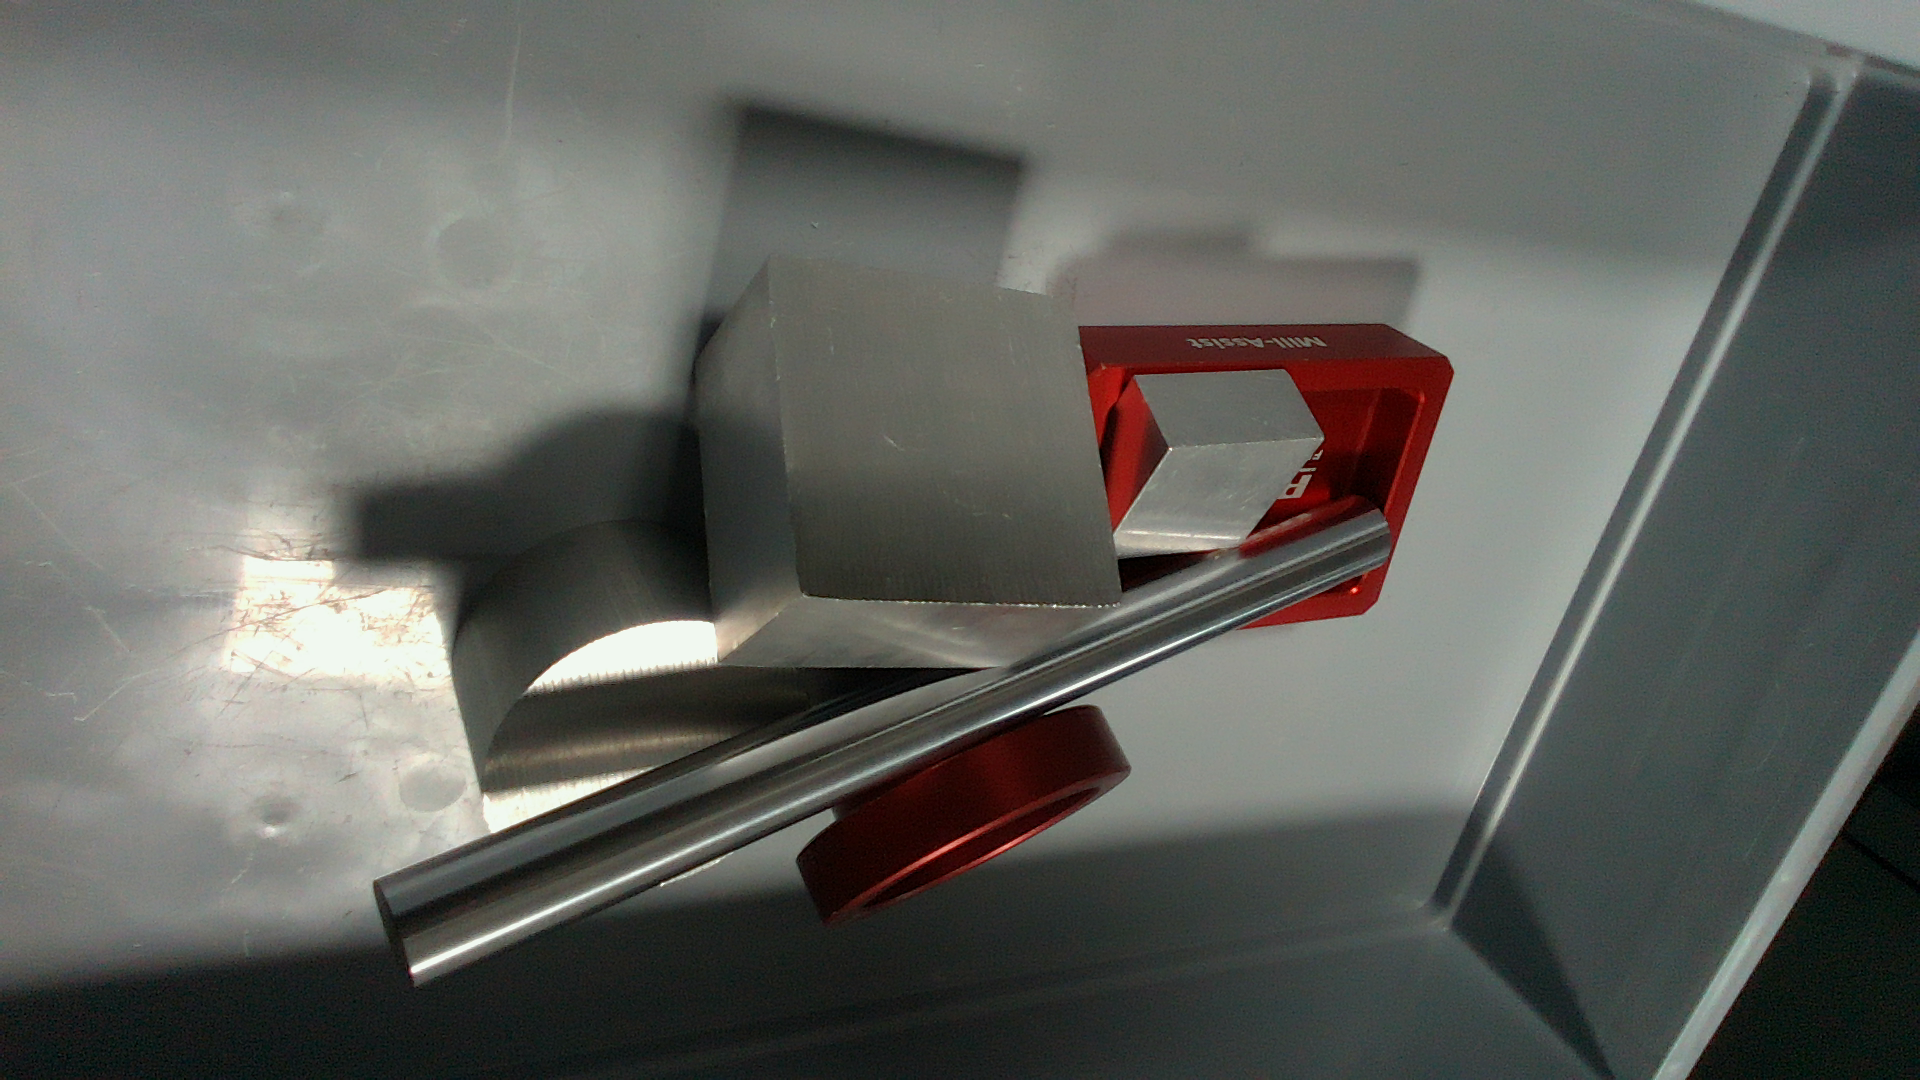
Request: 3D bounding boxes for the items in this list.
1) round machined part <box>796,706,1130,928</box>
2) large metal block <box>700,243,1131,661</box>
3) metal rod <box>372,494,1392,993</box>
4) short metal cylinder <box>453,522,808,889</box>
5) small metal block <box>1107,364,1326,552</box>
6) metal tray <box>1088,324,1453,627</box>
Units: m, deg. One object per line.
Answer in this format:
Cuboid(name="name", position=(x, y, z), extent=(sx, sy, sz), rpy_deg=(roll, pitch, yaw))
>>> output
Cuboid(name="round machined part", position=(-0.003, 0.071, 0.398), extent=(0.098, 0.042, 0.098), rpy_deg=(-25, 163, -8))
Cuboid(name="large metal block", position=(-0.013, -0.017, 0.326), extent=(0.080, 0.080, 0.050), rpy_deg=(3, 159, -29))
Cuboid(name="metal rod", position=(0.005, 0.040, 0.361), extent=(0.301, 0.025, 0.025), rpy_deg=(-19, 127, -31))
Cuboid(name="short metal cylinder", position=(-0.084, 0.042, 0.351), extent=(0.080, 0.050, 0.080), rpy_deg=(-14, 124, -21))
Cuboid(name="small metal block", position=(0.064, -0.022, 0.381), extent=(0.050, 0.025, 0.050), rpy_deg=(-5, 147, -26))
Cuboid(name="metal tray", position=(0.079, -0.017, 0.416), extent=(0.130, 0.030, 0.090), rpy_deg=(-5, 121, -26))
